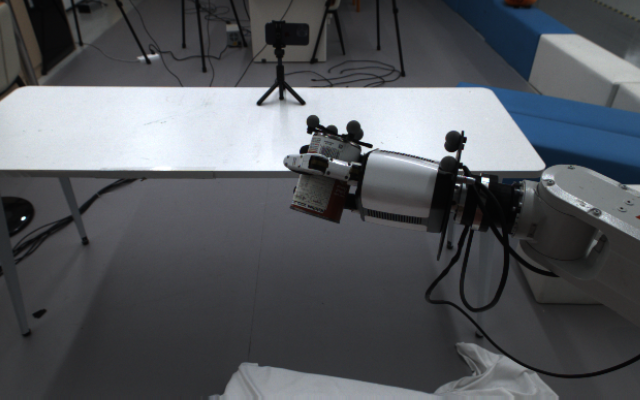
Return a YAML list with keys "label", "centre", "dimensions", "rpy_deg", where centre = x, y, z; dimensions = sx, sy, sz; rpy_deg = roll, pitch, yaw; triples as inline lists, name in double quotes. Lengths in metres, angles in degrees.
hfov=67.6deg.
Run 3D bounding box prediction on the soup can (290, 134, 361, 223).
- label: "soup can"
  centre: [0.009, -0.028, 0.621]
  dimensions: [0.067, 0.101, 0.067]
  rpy_deg: [17, -1, 0]
